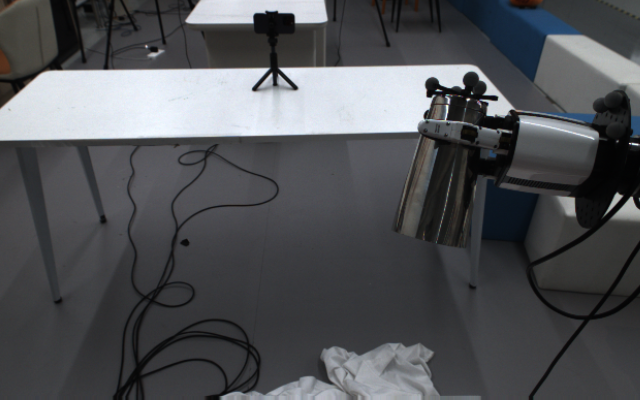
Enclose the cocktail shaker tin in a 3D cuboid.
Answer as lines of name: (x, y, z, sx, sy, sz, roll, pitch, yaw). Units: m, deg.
cocktail shaker tin: (0.153, -0.039, 0.593, 0.093, 0.170, 0.093, 12, 3, -1)
